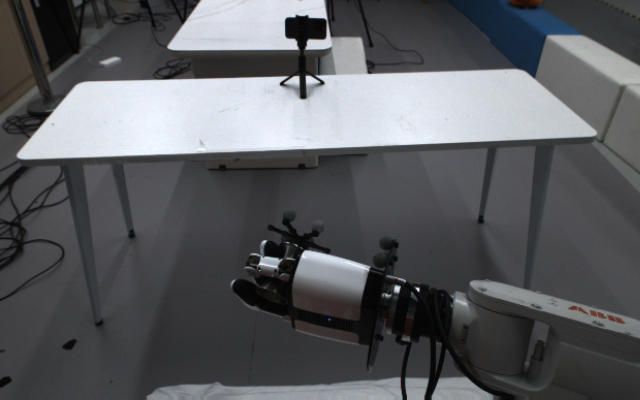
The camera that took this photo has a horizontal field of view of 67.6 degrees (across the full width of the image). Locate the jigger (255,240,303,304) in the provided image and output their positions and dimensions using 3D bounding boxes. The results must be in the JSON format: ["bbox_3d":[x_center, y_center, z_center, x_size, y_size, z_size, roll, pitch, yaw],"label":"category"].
[{"bbox_3d":[-0.046,0.089,0.608,0.043,0.043,0.071,15,58,18],"label":"jigger"}]
